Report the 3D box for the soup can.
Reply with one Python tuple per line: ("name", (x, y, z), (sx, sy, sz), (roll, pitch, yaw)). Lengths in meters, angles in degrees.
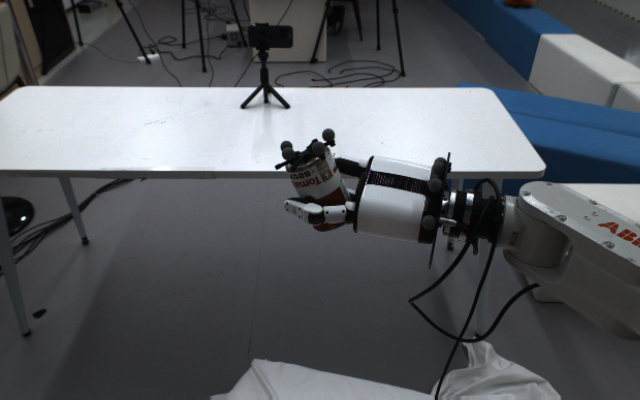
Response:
("soup can", (0.003, -0.016, 0.680), (0.067, 0.101, 0.067), (-21, 24, 10))
